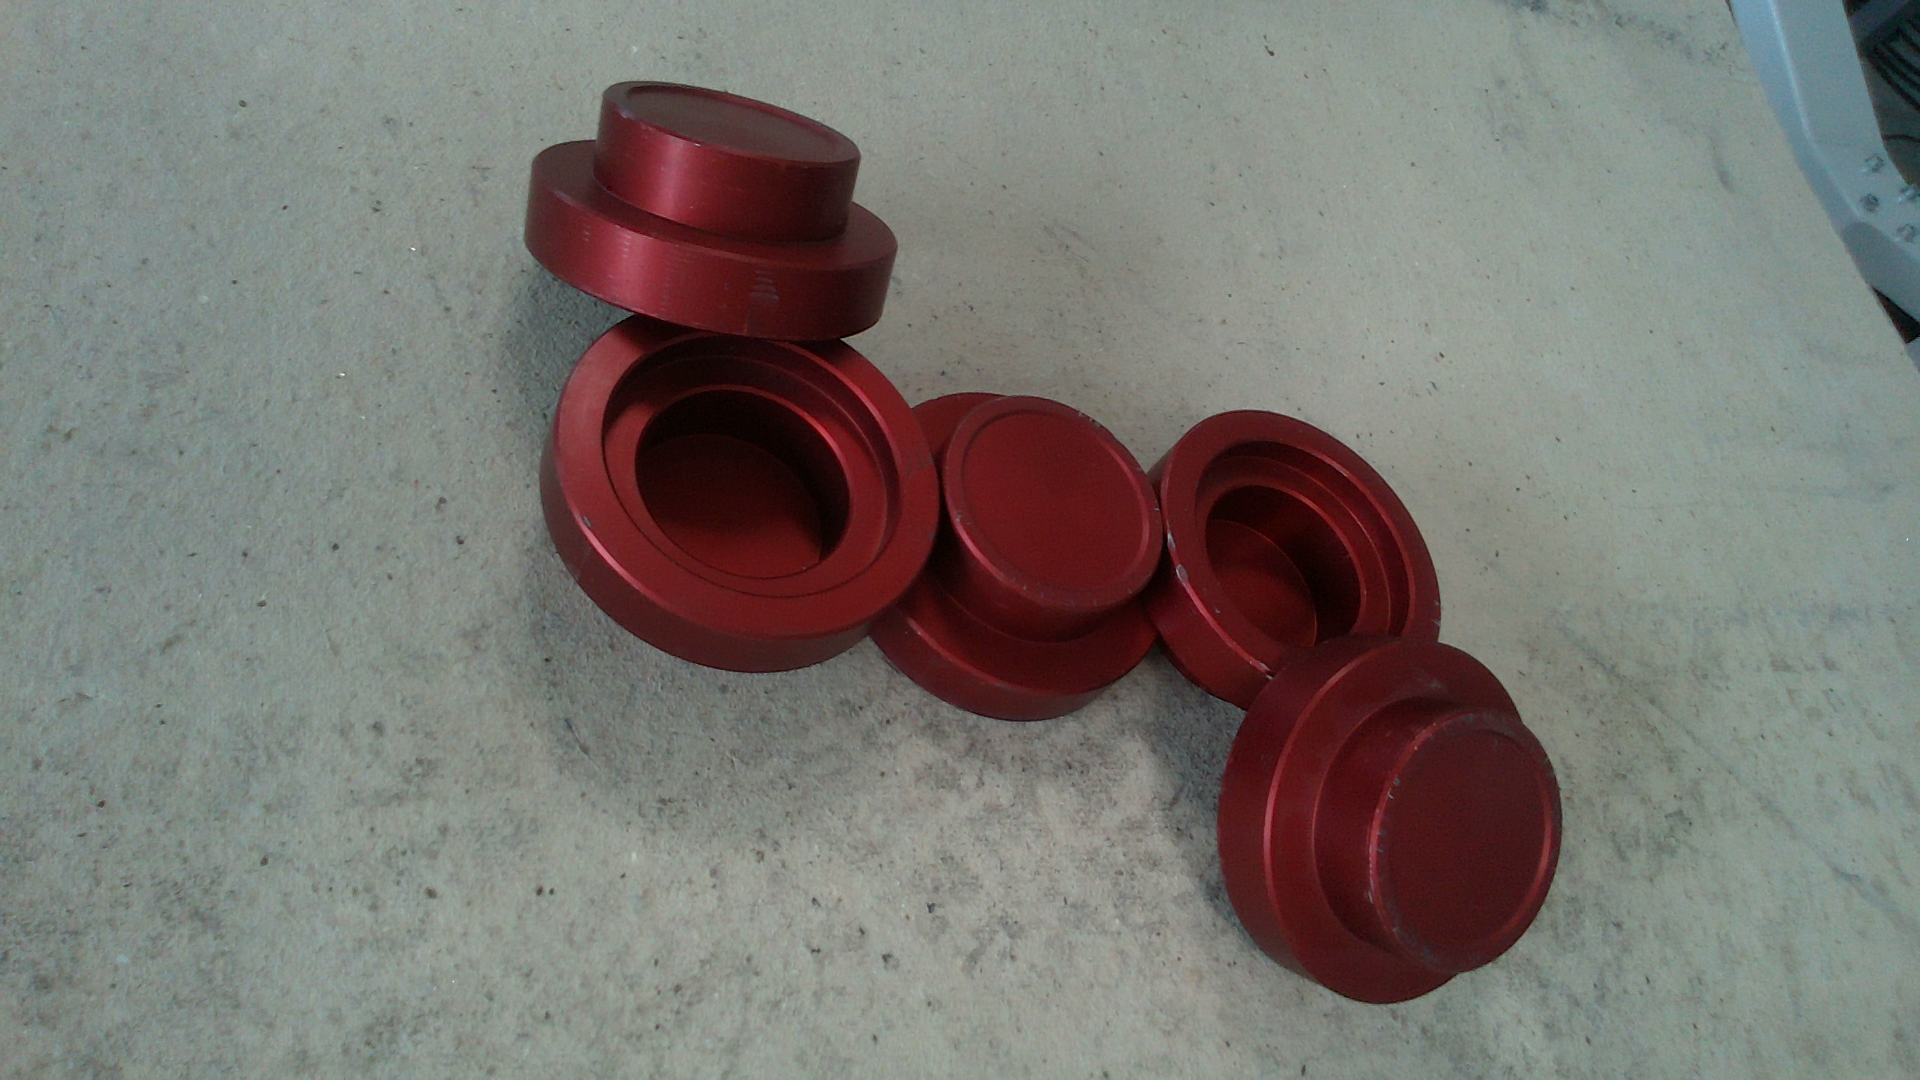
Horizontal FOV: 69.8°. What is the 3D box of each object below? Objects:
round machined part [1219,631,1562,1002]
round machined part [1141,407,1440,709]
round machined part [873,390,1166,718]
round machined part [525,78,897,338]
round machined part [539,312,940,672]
[{"bbox_3d":[0.121,0.075,0.369,0.098,0.042,0.098,0,91,-28],"label":"round machined part"},{"bbox_3d":[0.094,0.012,0.421,0.098,0.042,0.098,13,57,-20],"label":"round machined part"},{"bbox_3d":[0.018,-0.003,0.389,0.098,0.042,0.098,13,54,-19],"label":"round machined part"},{"bbox_3d":[-0.064,-0.094,0.373,0.098,0.042,0.098,13,26,-7],"label":"round machined part"},{"bbox_3d":[-0.058,-0.011,0.354,0.098,0.042,0.098,13,57,-20],"label":"round machined part"}]
